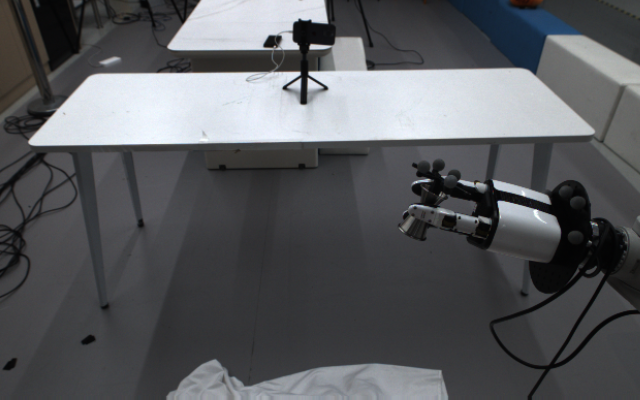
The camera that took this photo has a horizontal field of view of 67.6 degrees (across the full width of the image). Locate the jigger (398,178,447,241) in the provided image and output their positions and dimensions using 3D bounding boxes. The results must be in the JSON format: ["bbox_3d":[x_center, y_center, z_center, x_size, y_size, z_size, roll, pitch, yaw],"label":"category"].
[{"bbox_3d":[0.140,0.016,0.667,0.043,0.071,0.043,23,18,-8],"label":"jigger"}]
